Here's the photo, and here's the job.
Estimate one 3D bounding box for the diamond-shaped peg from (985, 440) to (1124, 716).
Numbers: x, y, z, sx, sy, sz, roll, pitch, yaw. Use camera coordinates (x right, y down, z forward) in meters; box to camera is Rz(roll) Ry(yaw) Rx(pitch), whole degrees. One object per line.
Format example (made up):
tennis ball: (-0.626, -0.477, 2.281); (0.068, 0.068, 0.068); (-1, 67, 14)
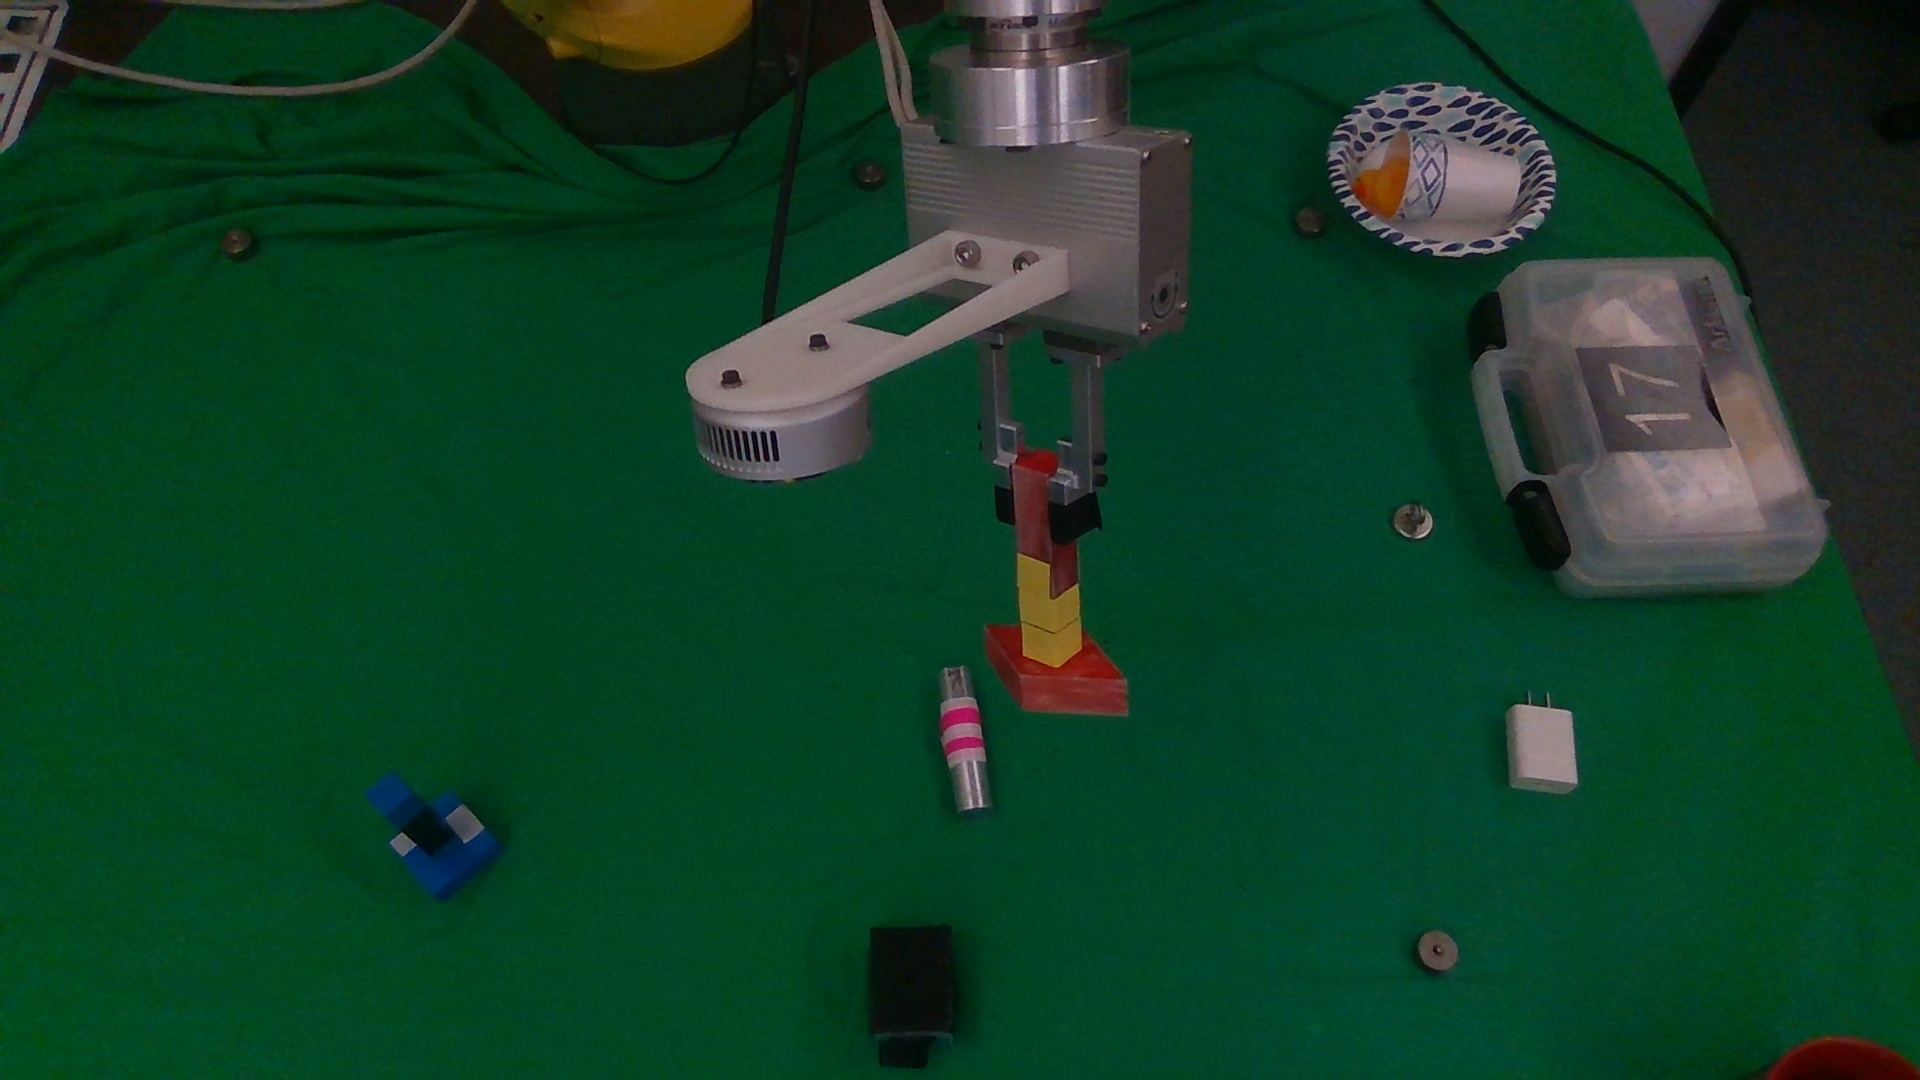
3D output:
diamond-shaped peg: (0.040, 0.016, 0.628); (0.074, 0.122, 0.045); (4, 27, 15)

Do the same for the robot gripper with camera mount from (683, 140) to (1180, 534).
robot gripper with camera mount: (-0.015, -0.045, 0.526); (0.119, 0.158, 0.193); (16, 36, 34)
